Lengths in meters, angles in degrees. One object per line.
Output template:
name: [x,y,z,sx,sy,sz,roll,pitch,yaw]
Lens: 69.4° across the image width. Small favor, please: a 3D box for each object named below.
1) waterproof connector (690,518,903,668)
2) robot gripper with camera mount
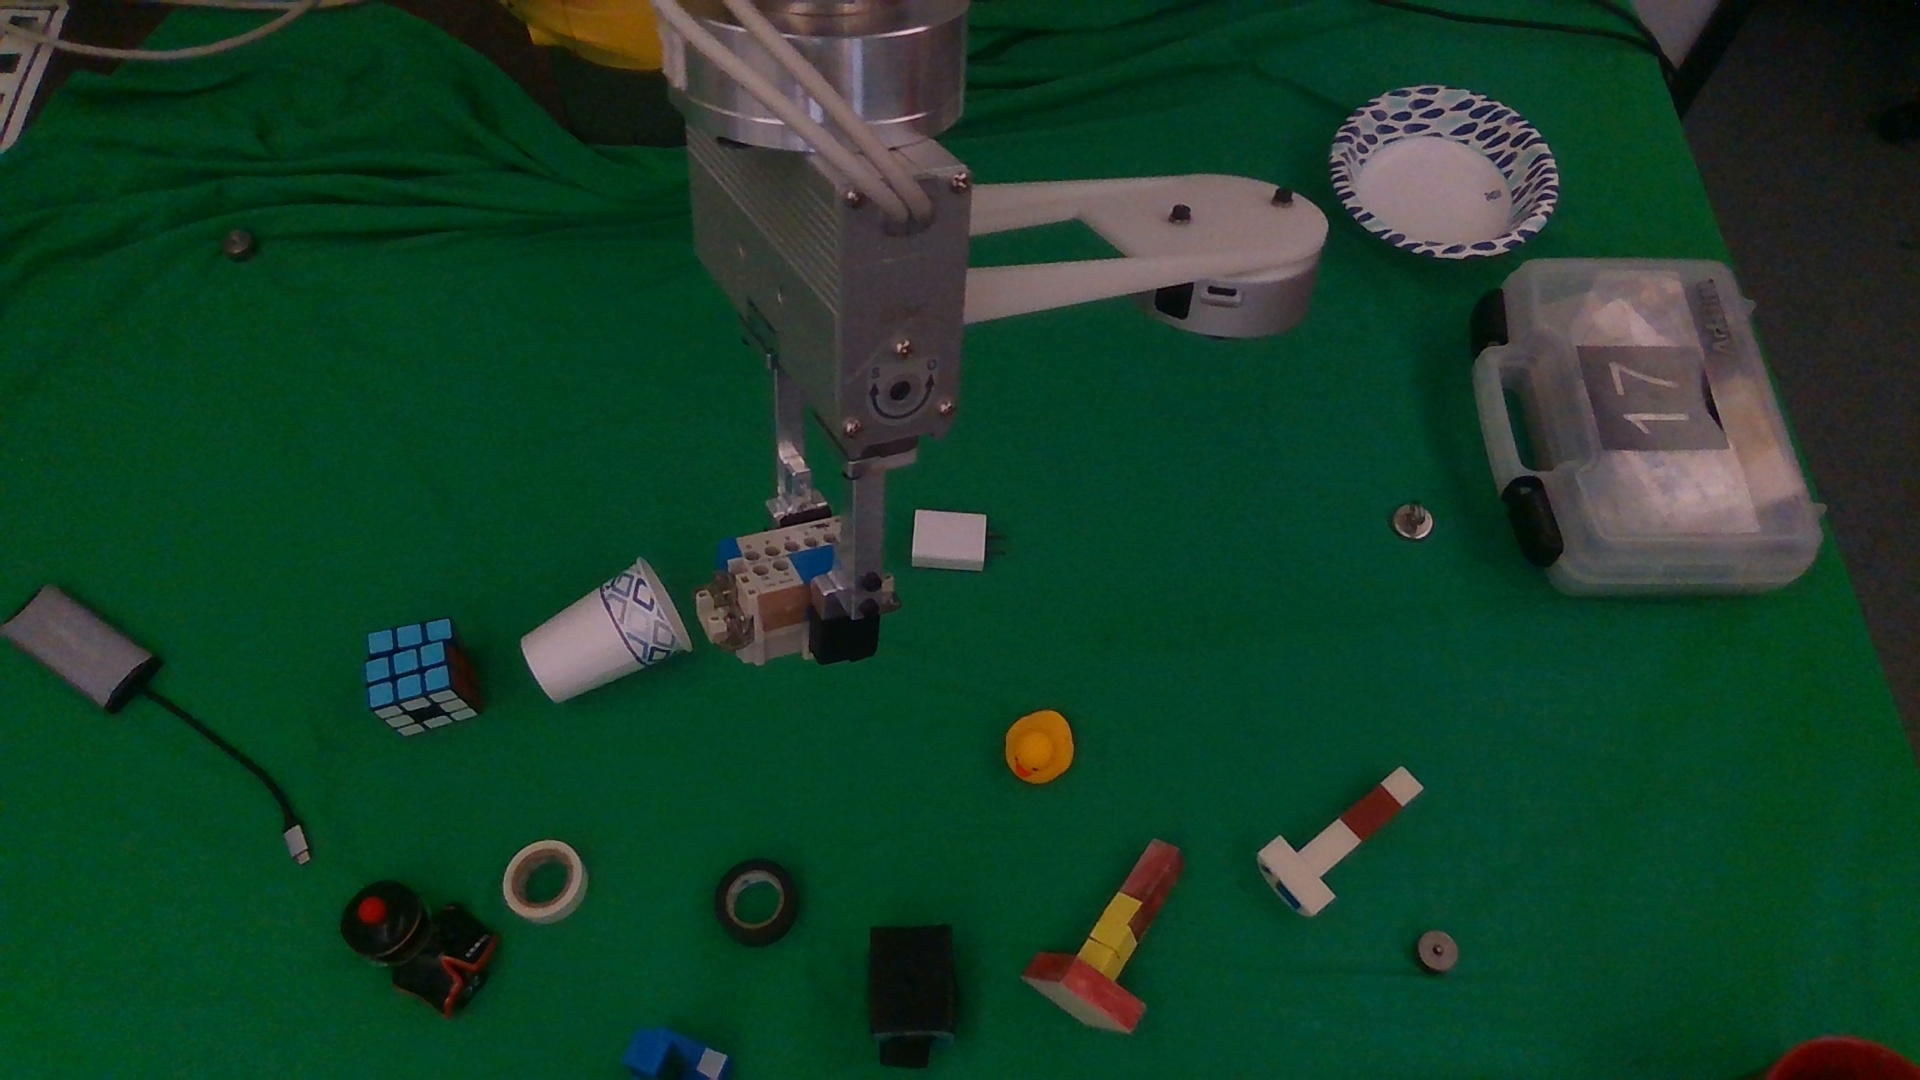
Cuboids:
waterproof connector: [-0.054,0.019,0.460,0.065,0.037,0.035,-14,42,-23]
robot gripper with camera mount: [0.022,-0.060,0.461,0.193,0.158,0.119,-15,38,-28]
